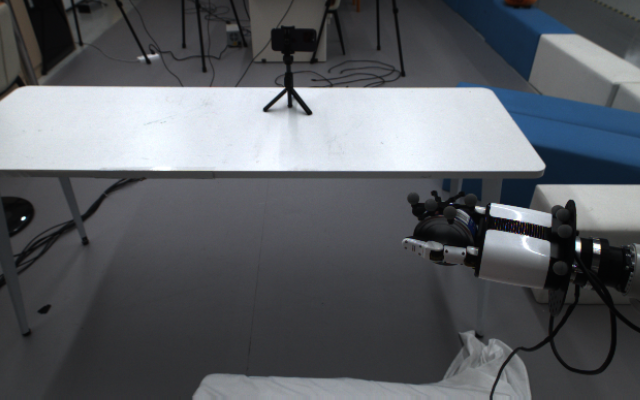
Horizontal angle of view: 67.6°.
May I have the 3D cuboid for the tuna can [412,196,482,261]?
[{"bbox_3d":[0.182,0.048,0.696,0.085,0.085,0.034,17,37,20],"label":"tuna can"}]
